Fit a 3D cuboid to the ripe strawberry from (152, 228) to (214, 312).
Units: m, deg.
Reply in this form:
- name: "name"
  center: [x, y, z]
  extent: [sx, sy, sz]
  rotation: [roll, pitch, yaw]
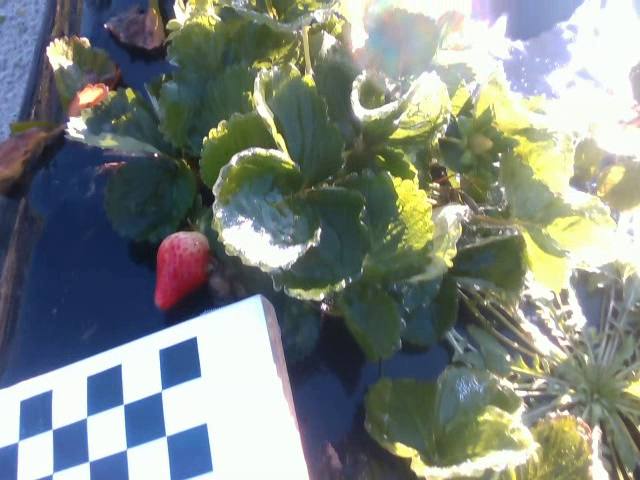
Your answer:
- name: "ripe strawberry"
  center: [-0.106, 0.018, 0.420]
  extent: [0.040, 0.065, 0.040]
  rotation: [21, -16, 26]
